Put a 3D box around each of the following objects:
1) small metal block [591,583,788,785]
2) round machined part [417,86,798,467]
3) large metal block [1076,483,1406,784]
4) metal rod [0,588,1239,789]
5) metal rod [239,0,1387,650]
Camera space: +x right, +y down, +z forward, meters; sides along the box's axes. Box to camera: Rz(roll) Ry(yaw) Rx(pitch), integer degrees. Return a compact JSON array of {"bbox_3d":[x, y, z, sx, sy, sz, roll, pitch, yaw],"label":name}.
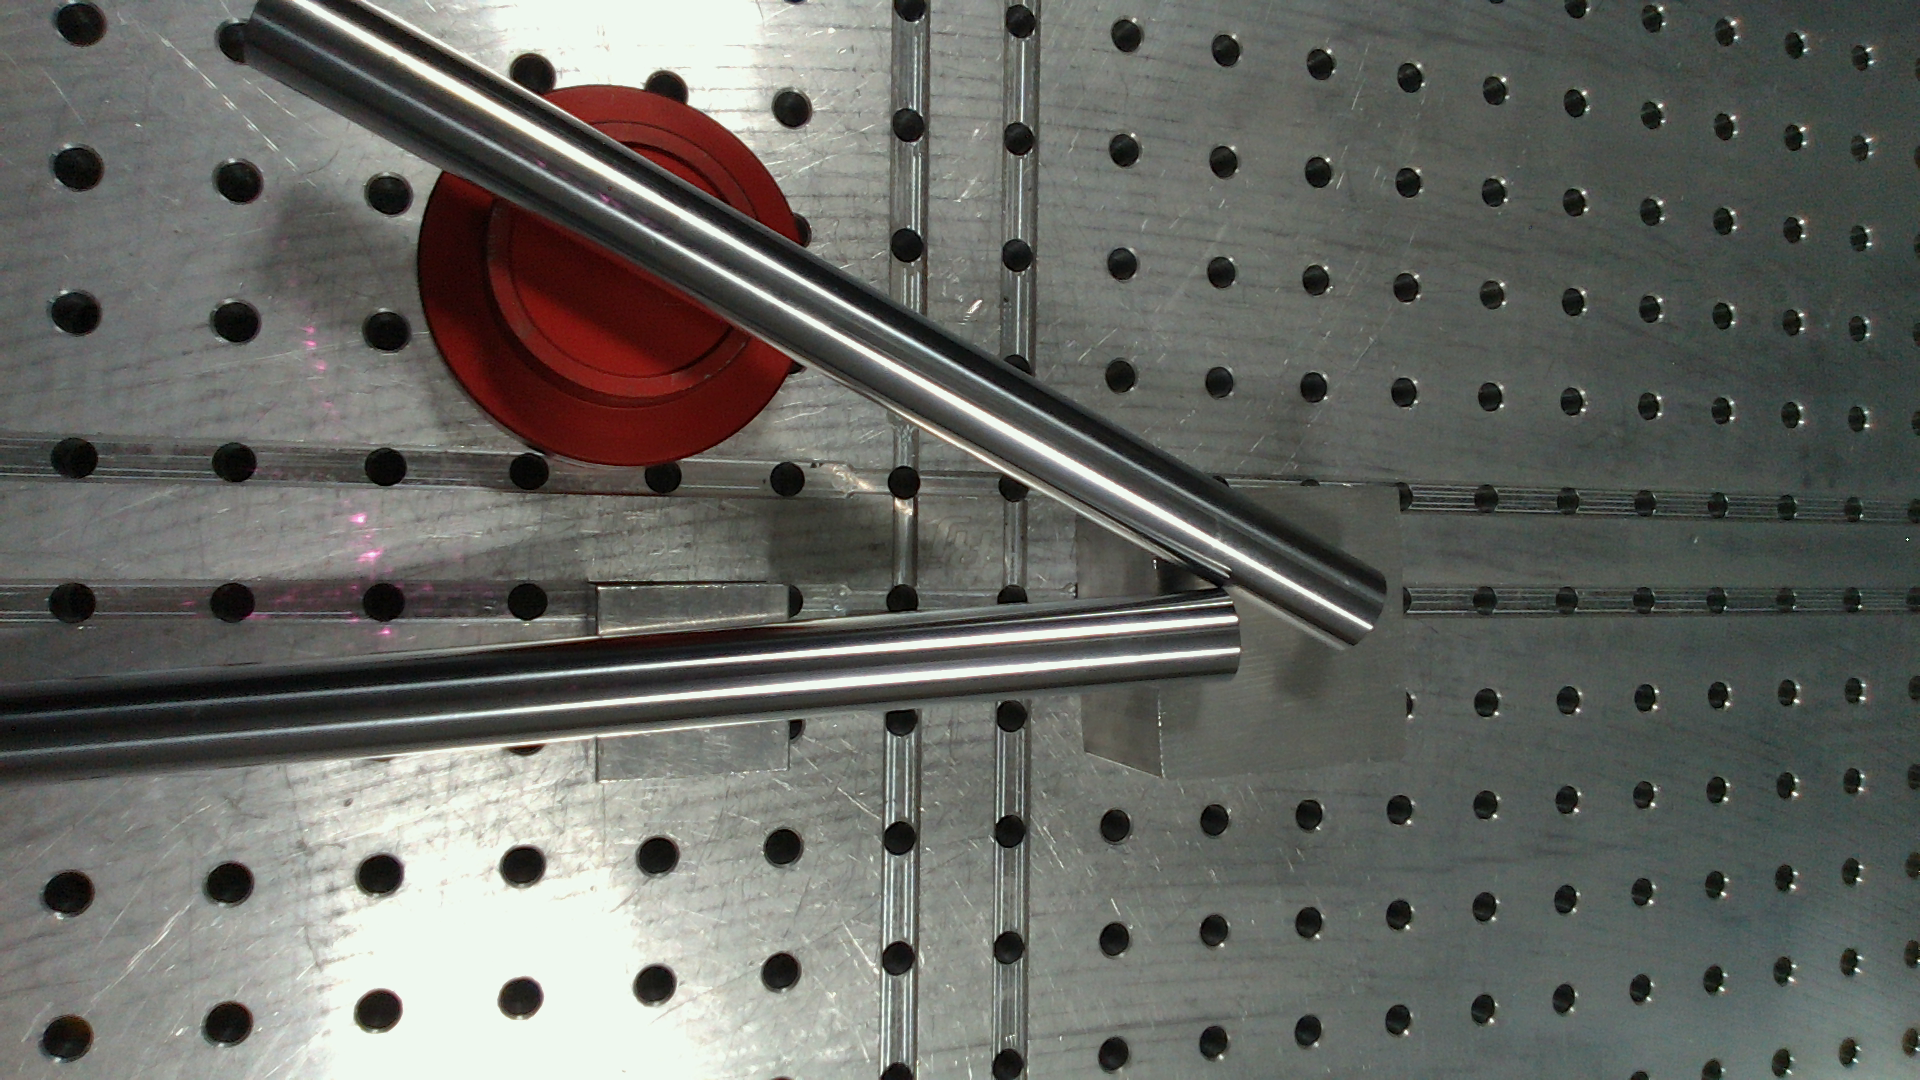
[{"bbox_3d":[-0.074,0.037,0.370,0.050,0.025,0.050,0,90,-20],"label":"small metal block"},{"bbox_3d":[-0.087,-0.068,0.355,0.098,0.042,0.098,0,90,-20],"label":"round machined part"},{"bbox_3d":[0.083,0.025,0.410,0.080,0.050,0.080,-2,91,-20],"label":"large metal block"},{"bbox_3d":[-0.079,0.035,0.338,0.300,0.025,0.025,-4,91,-10],"label":"metal rod"},{"bbox_3d":[-0.021,-0.048,0.337,0.301,0.025,0.025,27,81,-15],"label":"metal rod"}]
